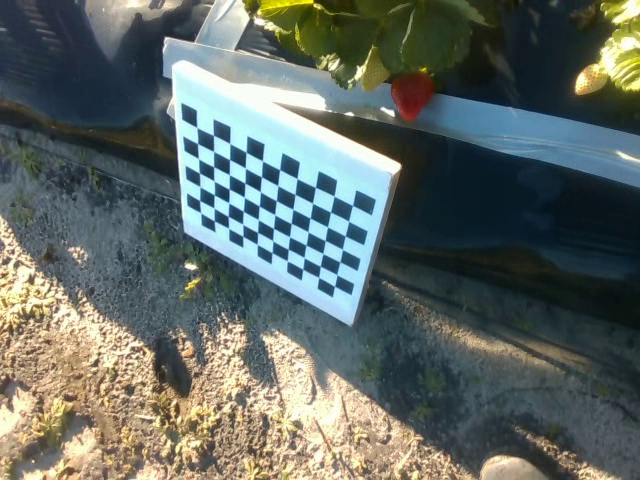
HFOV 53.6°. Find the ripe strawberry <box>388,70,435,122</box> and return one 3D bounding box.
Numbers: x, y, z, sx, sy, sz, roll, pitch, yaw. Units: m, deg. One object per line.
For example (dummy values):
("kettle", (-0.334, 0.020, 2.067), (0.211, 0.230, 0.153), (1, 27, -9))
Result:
("ripe strawberry", (0.089, -0.141, 0.615), (0.049, 0.063, 0.045), (19, -31, -18))
